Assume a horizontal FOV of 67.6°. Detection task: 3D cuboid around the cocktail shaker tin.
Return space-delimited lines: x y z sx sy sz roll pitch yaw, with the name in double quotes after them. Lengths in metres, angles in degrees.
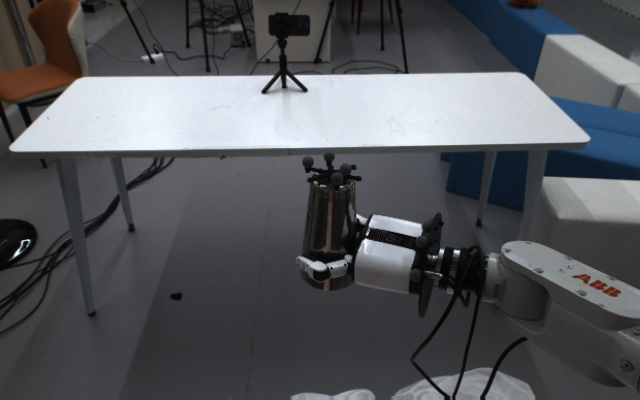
0.017 0.042 0.747 0.093 0.170 0.093 1 28 -1 "cocktail shaker tin"
